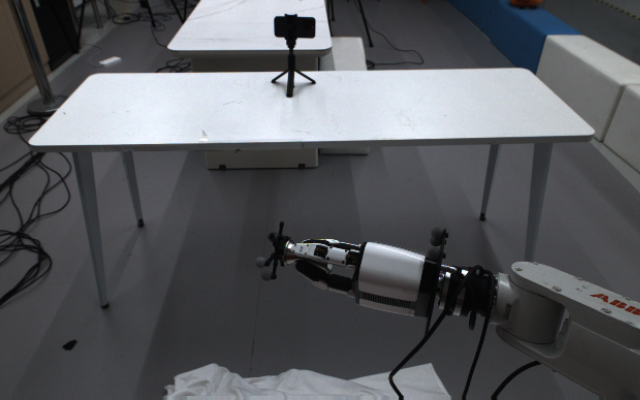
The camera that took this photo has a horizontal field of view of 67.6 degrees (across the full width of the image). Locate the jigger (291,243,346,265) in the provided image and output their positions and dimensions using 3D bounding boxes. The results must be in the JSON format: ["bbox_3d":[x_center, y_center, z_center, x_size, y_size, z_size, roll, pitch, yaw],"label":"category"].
[{"bbox_3d":[-0.009,0.078,0.718,0.071,0.043,0.043,8,35,15],"label":"jigger"}]
